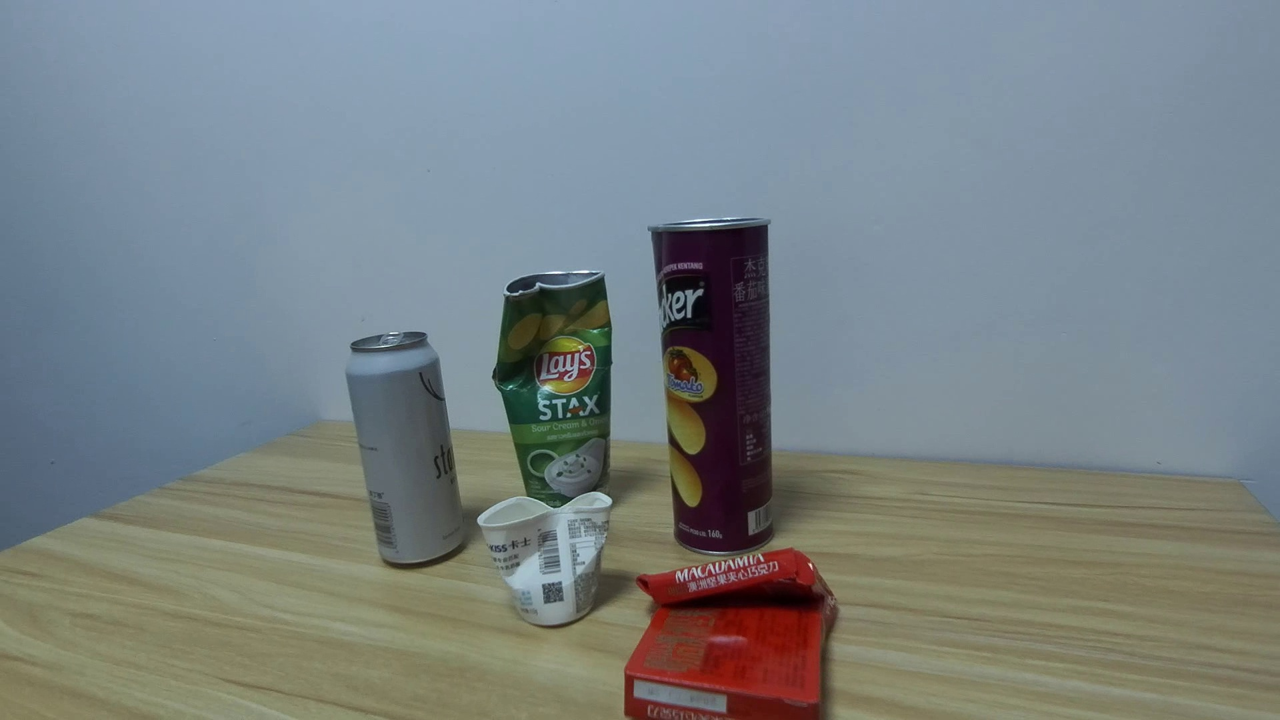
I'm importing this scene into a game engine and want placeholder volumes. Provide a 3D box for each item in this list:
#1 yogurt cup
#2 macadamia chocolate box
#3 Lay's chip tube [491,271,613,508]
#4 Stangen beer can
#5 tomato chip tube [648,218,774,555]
[{"bbox_3d":[-0.057,0.125,0.453,0.076,0.071,0.053,-17,20,-35],"label":"yogurt cup"},{"bbox_3d":[0.046,0.152,0.389,0.112,0.056,0.126,-16,11,20],"label":"macadamia chocolate box"},{"bbox_3d":[-0.066,0.031,0.579,0.069,0.201,0.077,7,20,39],"label":"Lay's chip tube"},{"bbox_3d":[-0.177,0.068,0.537,0.067,0.171,0.067,-5,12,1],"label":"Stangen beer can"},{"bbox_3d":[0.055,0.019,0.511,0.077,0.234,0.080,-7,14,-9],"label":"tomato chip tube"}]
